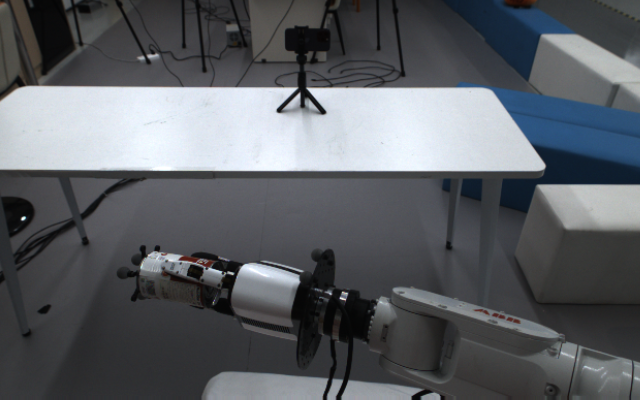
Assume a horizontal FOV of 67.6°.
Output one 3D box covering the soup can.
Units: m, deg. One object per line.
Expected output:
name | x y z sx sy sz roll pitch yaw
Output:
soup can | -0.193 0.113 0.682 0.101 0.067 0.067 7 35 10
